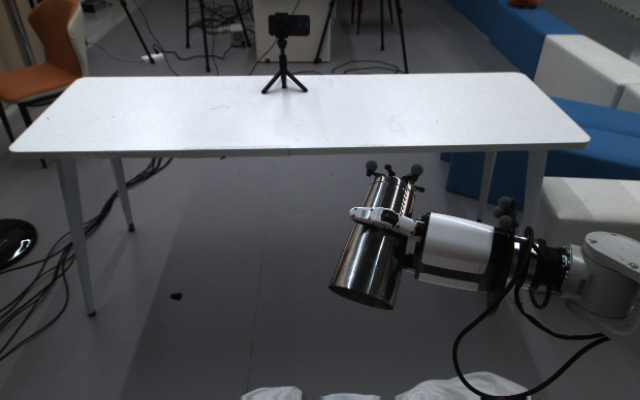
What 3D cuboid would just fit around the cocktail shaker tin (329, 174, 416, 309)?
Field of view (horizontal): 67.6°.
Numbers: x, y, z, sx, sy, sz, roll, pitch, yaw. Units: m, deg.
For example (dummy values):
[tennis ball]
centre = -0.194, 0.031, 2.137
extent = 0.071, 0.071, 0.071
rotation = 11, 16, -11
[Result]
[cocktail shaker tin]
centre = 0.079, 0.054, 0.670
extent = 0.093, 0.093, 0.170
rotation = 14, 70, 16
